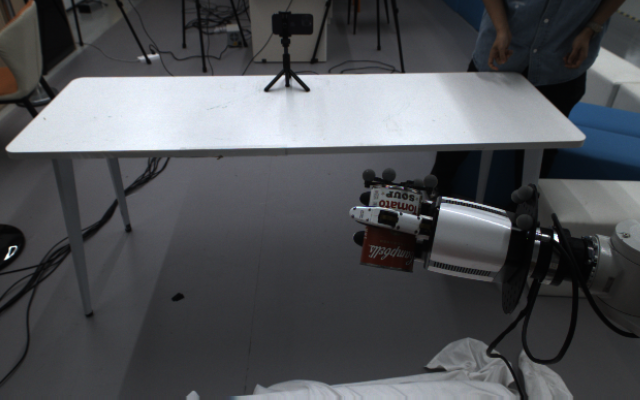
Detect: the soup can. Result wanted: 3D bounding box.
[{"bbox_3d":[0.092,0.037,0.614,0.067,0.101,0.067,9,-6,1],"label":"soup can"}]
